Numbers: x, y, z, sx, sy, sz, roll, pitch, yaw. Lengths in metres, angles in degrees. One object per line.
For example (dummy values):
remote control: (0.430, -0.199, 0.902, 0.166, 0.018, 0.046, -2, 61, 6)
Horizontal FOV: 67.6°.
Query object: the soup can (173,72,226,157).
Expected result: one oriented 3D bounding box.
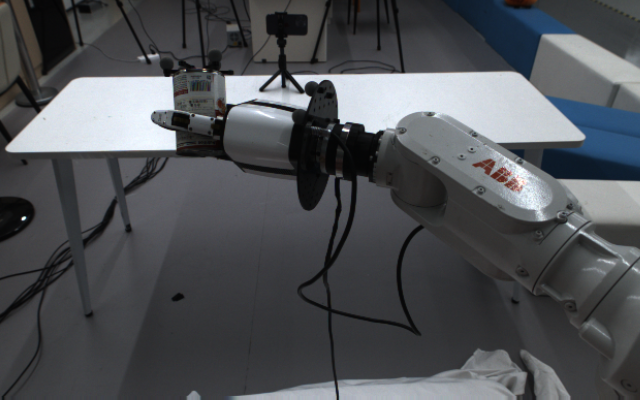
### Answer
soup can: (-0.152, -0.109, 0.621, 0.067, 0.101, 0.067, -3, -1, 0)
